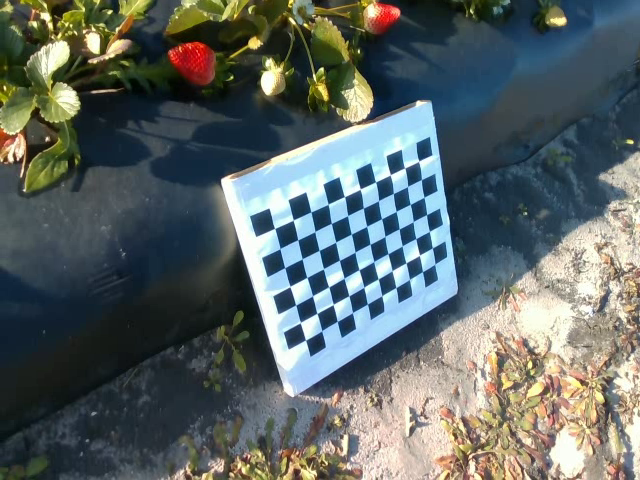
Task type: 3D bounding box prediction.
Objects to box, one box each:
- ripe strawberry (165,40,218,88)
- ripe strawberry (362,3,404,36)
[{"bbox_3d":[-0.111,-0.154,0.516,0.053,0.044,0.036,2,12,-44],"label":"ripe strawberry"},{"bbox_3d":[0.062,-0.225,0.609,0.045,0.037,0.042,-8,38,33],"label":"ripe strawberry"}]
